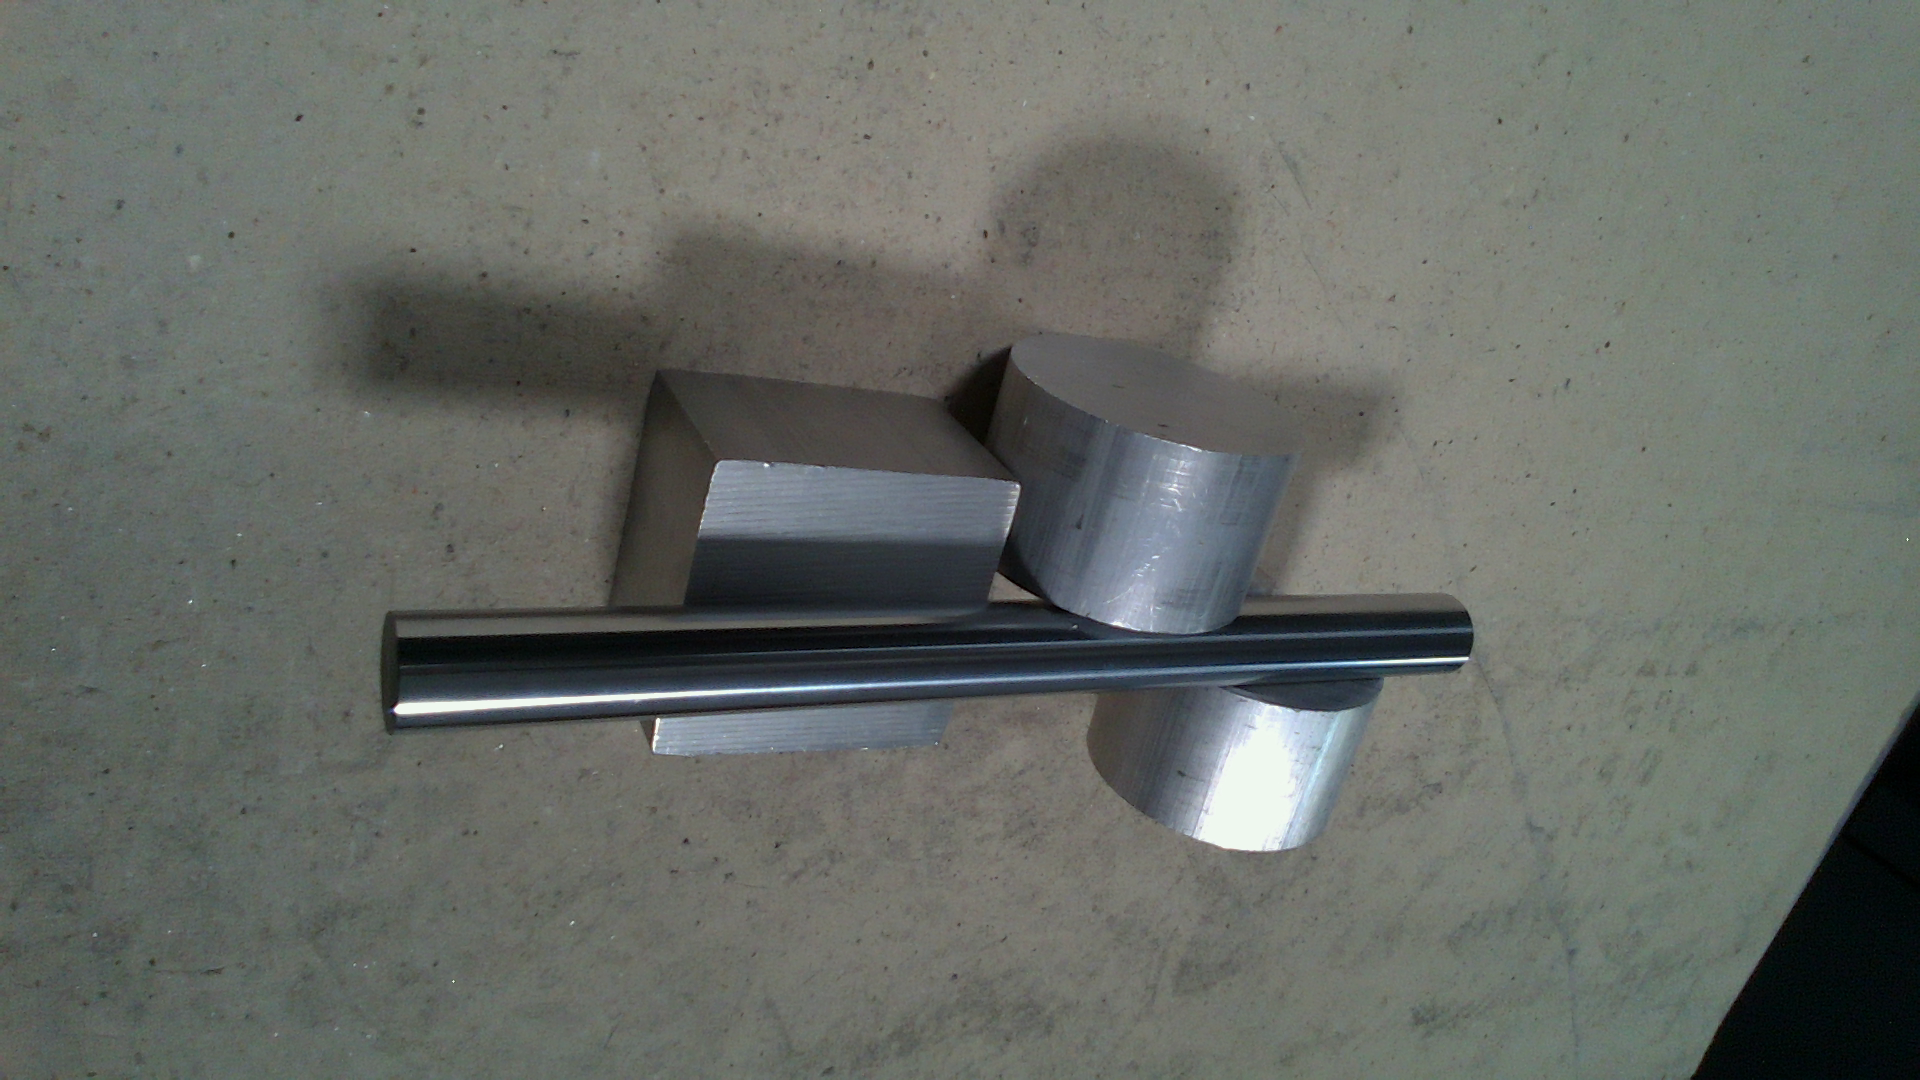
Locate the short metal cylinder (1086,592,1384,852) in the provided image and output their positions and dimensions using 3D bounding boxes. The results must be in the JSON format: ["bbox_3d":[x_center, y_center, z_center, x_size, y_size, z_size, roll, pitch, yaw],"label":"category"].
[{"bbox_3d":[0.085,0.052,0.431,0.080,0.080,0.050,0,119,-28],"label":"short metal cylinder"}]

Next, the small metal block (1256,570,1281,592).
[{"bbox_3d":[0.057,0.011,0.410,0.050,0.050,0.025,1,118,-29],"label":"small metal block"}]

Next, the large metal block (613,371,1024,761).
[{"bbox_3d":[-0.040,0.008,0.352,0.080,0.050,0.080,3,117,-30],"label":"large metal block"}]

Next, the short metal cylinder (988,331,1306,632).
[{"bbox_3d":[0.045,-0.018,0.369,0.080,0.080,0.050,2,117,-29],"label":"short metal cylinder"}]

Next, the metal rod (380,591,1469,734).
[{"bbox_3d":[0.016,0.027,0.349,0.301,0.025,0.025,0,118,-30],"label":"metal rod"}]
